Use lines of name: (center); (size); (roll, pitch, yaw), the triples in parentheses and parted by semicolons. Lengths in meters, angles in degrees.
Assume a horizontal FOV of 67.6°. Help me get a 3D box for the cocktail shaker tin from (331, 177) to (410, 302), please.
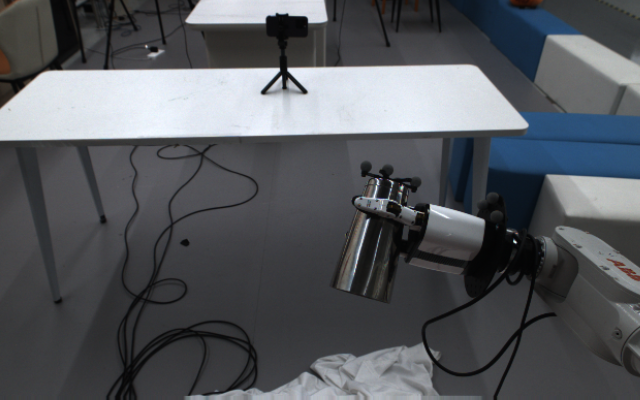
cocktail shaker tin: (0.083, 0.055, 0.719); (0.093, 0.093, 0.170); (13, 79, 15)
